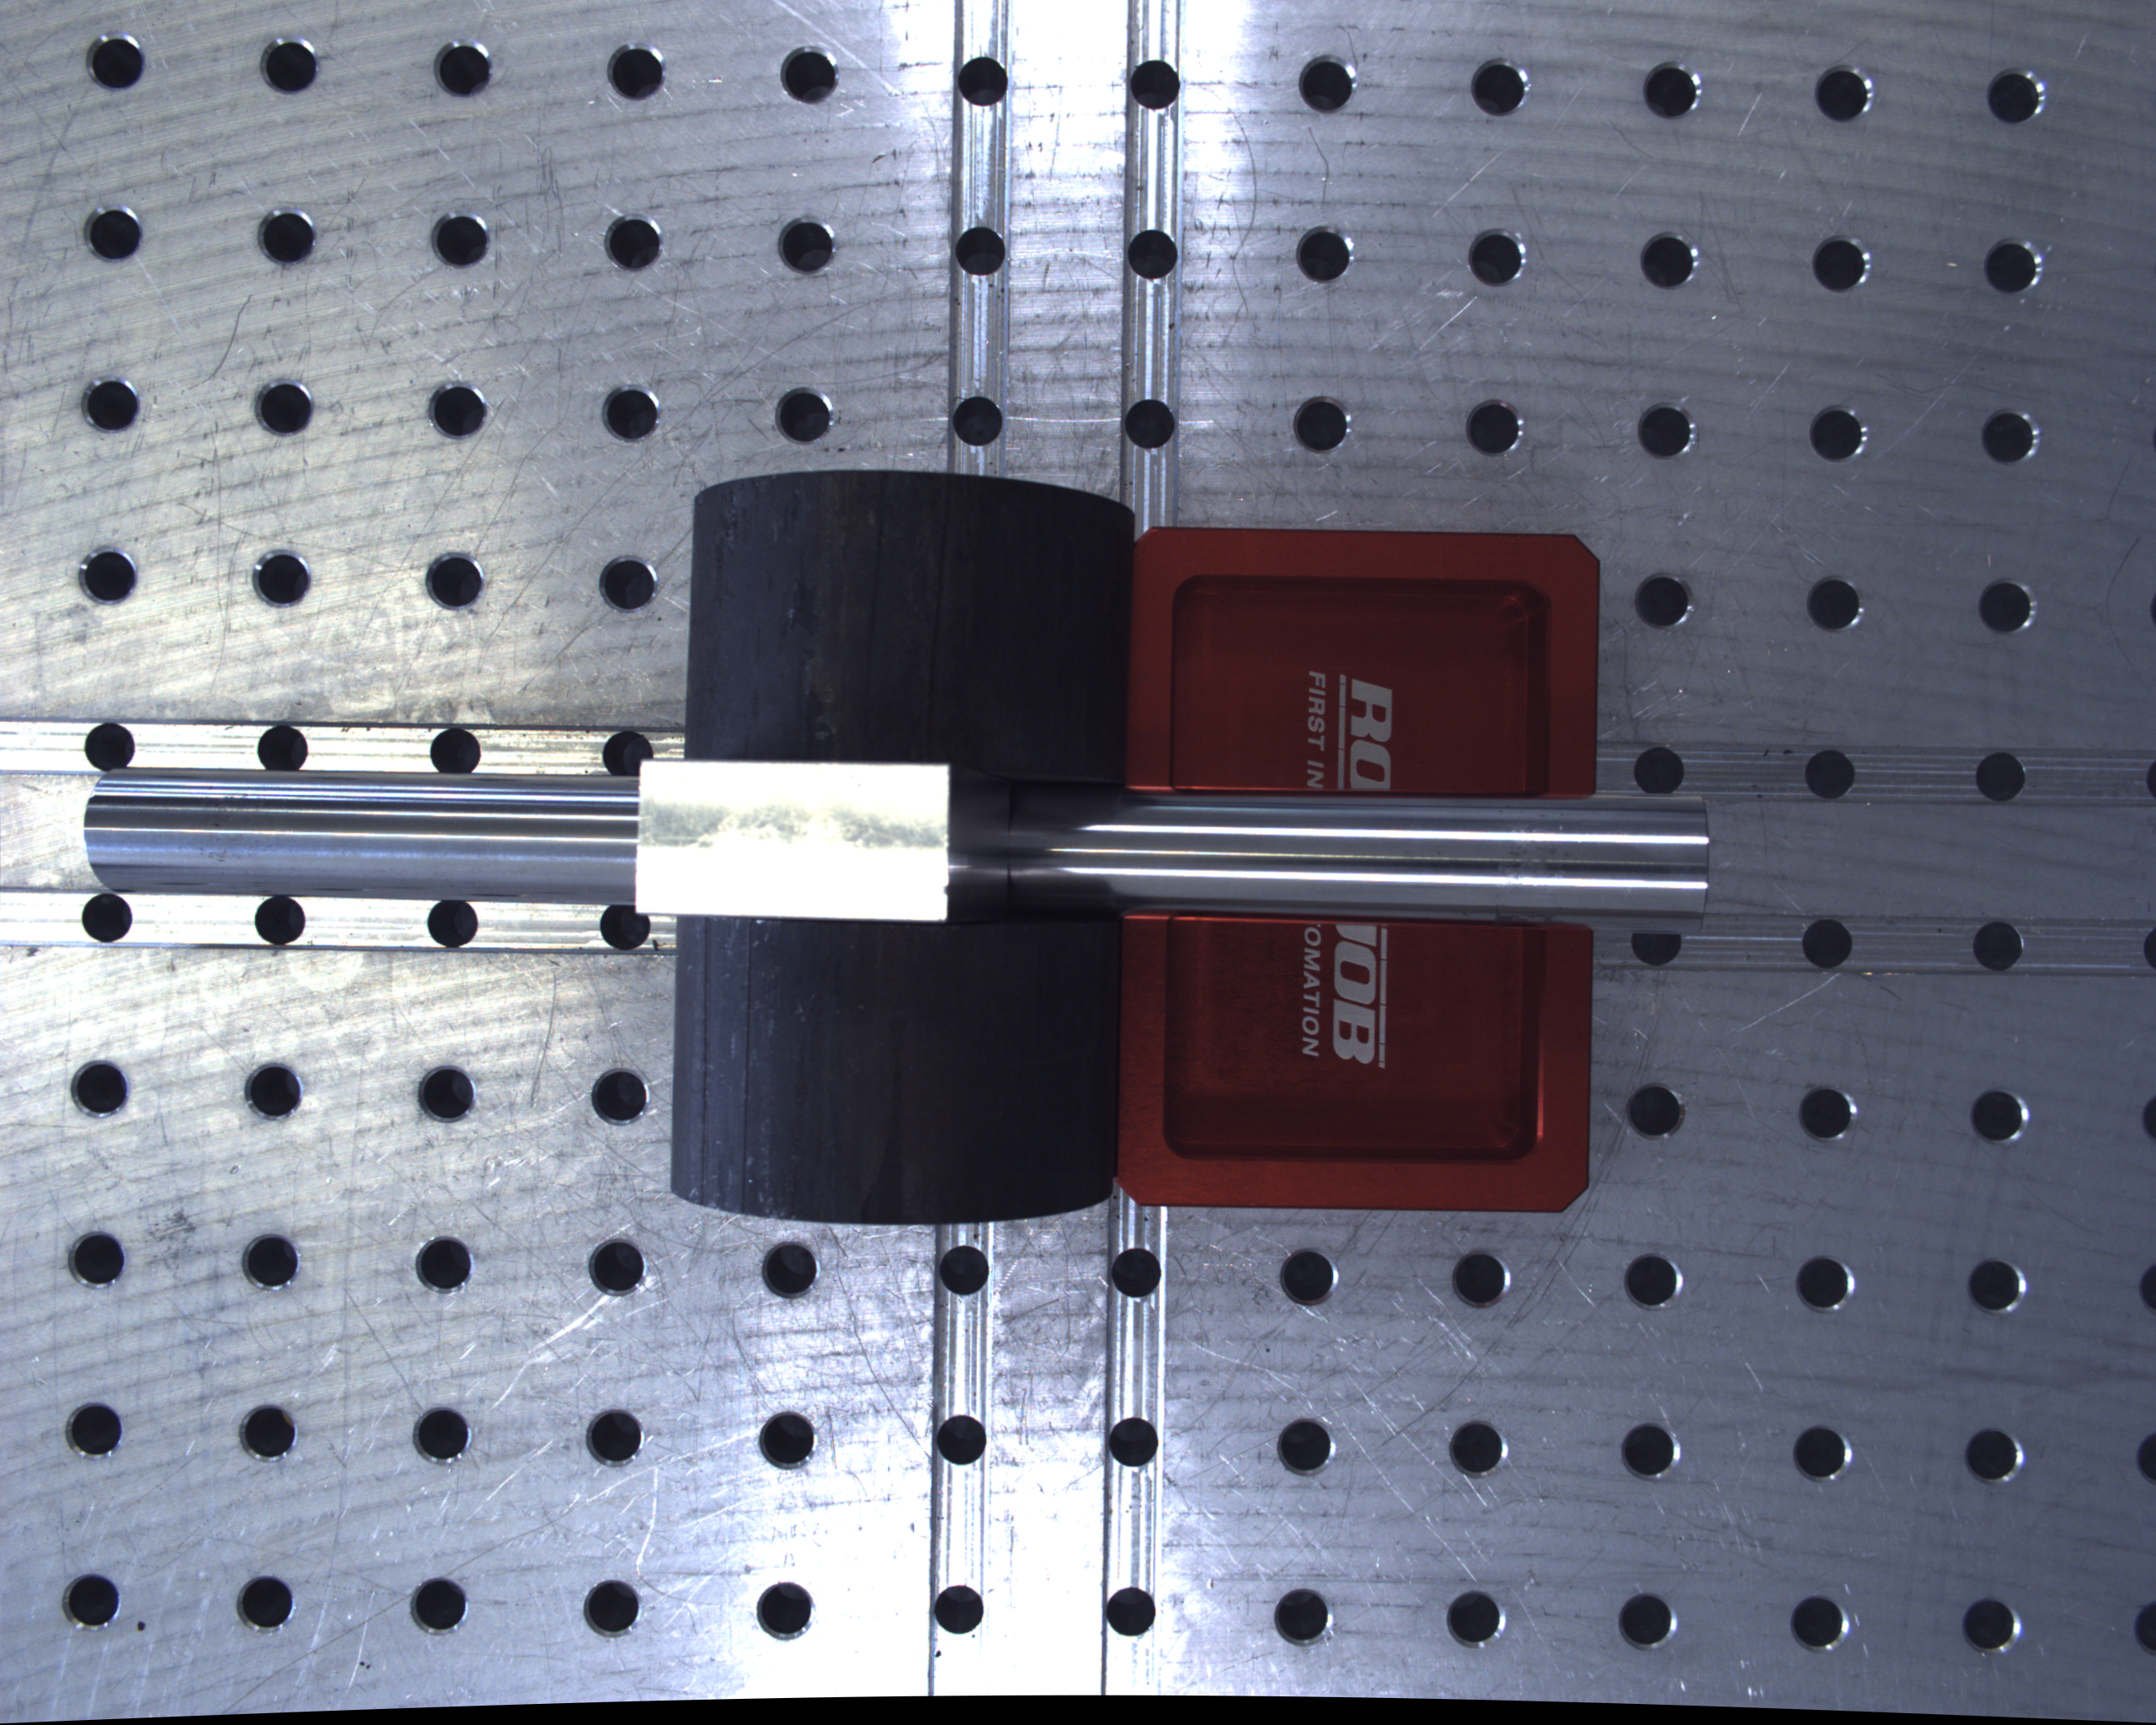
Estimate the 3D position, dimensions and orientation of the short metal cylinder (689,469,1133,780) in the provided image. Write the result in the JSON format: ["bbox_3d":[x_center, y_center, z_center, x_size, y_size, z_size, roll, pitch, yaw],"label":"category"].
[{"bbox_3d":[-0.031,-0.040,0.384,0.081,0.080,0.050,1,90,0],"label":"short metal cylinder"}]

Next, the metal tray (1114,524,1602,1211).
[{"bbox_3d":[0.053,0.001,0.411,0.091,0.030,0.129,1,90,0],"label":"metal tray"}]

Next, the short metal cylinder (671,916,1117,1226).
[{"bbox_3d":[-0.033,0.035,0.385,0.081,0.080,0.050,1,90,0],"label":"short metal cylinder"}]

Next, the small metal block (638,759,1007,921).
[{"bbox_3d":[-0.041,-0.004,0.353,0.050,0.050,0.025,1,90,8],"label":"small metal block"}]

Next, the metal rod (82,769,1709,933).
[{"bbox_3d":[-0.040,-0.003,0.390,0.301,0.025,0.025,1,90,8],"label":"metal rod"}]
